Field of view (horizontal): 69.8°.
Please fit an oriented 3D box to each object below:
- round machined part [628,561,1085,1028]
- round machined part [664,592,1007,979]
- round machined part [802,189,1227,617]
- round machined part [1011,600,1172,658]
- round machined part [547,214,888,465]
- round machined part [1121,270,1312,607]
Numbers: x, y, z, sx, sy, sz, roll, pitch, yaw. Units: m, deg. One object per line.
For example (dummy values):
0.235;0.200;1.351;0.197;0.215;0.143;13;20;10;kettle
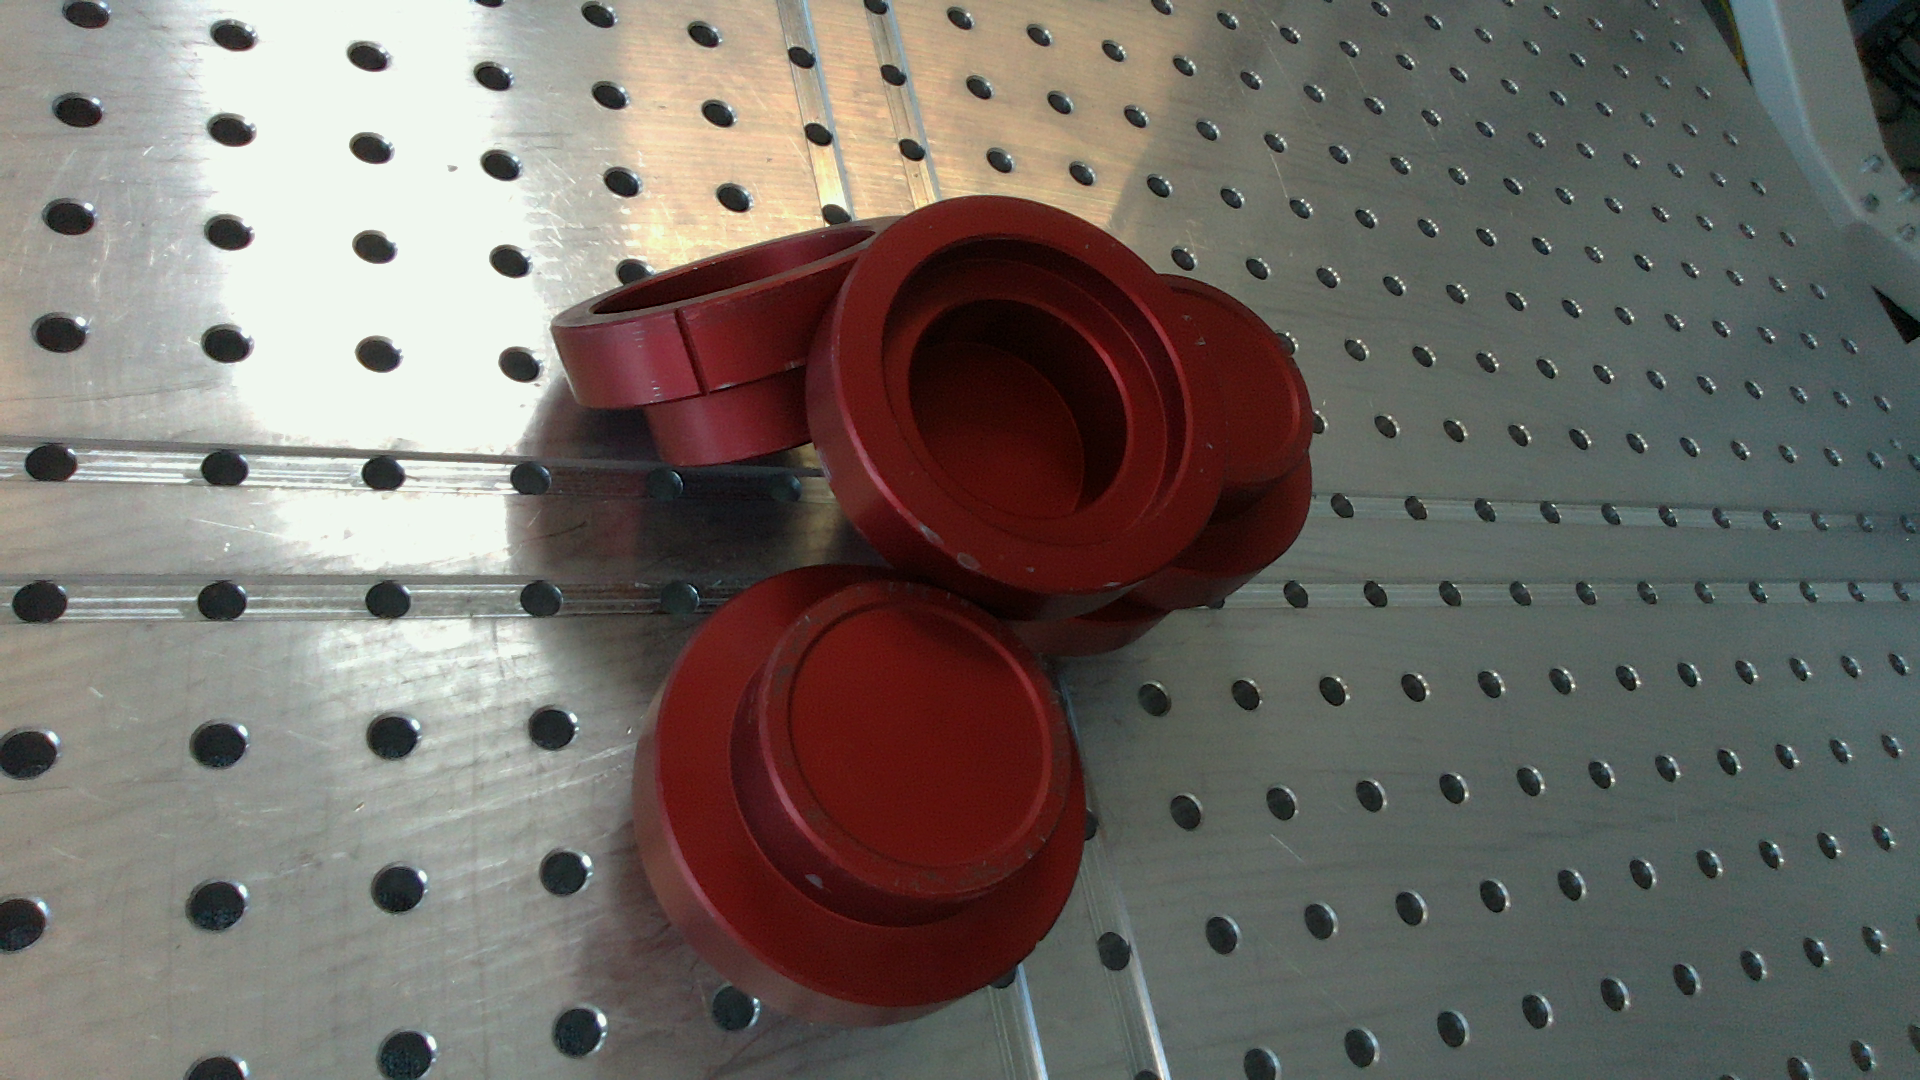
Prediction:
-0.016;0.047;0.289;0.098;0.042;0.098;14;56;-21;round machined part
-0.021;0.049;0.313;0.098;0.042;0.098;14;56;-21;round machined part
0.010;-0.028;0.322;0.098;0.042;0.098;9;66;-21;round machined part
0.029;-0.020;0.383;0.098;0.042;0.098;14;56;-21;round machined part
-0.053;-0.052;0.360;0.098;0.098;0.042;-31;114;-38;round machined part
0.056;-0.035;0.378;0.098;0.042;0.098;14;55;-20;round machined part
